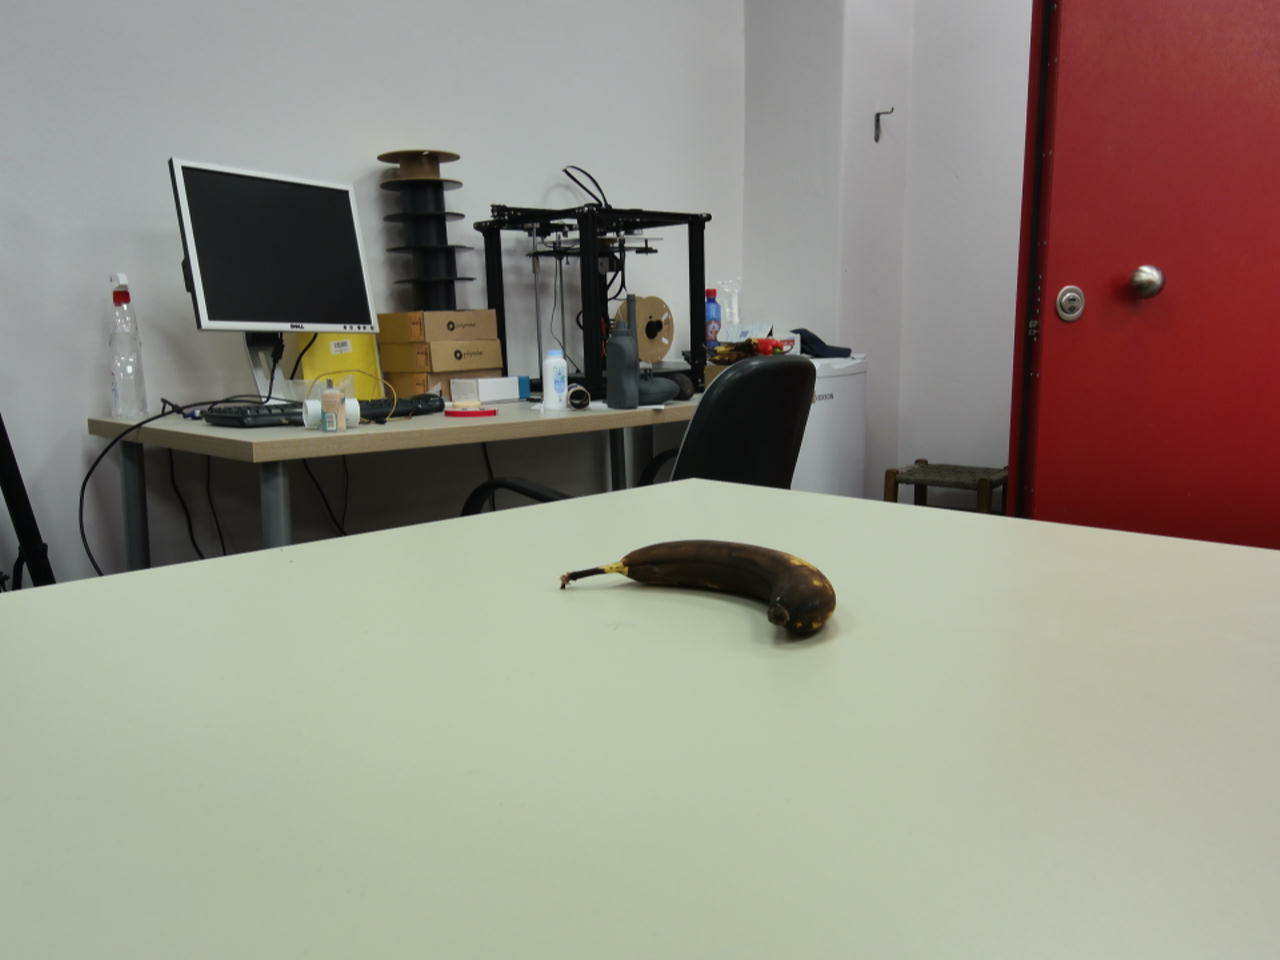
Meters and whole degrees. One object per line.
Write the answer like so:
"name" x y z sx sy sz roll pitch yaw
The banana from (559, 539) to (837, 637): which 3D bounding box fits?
"banana" 0.047 0.058 0.611 0.091 0.033 0.188 -5 9 -41
